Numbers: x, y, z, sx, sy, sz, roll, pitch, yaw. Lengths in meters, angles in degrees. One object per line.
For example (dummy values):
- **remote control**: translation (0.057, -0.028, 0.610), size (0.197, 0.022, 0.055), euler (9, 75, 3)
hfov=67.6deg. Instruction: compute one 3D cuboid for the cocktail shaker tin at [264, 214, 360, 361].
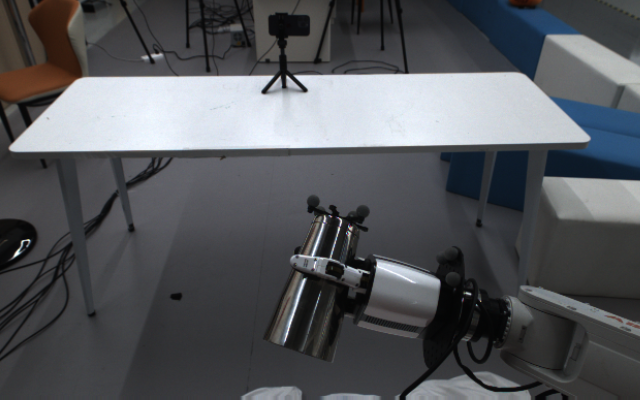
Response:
- **cocktail shaker tin**: translation (-0.004, 0.109, 0.619), size (0.093, 0.093, 0.170), euler (13, 70, 15)
